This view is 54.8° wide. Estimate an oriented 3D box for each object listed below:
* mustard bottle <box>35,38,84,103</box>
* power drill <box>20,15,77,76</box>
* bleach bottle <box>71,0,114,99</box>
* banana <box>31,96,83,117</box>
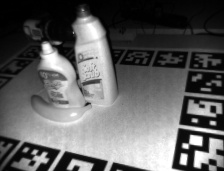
[{"bbox_3d":[-0.140,-0.035,0.546,0.095,0.193,0.058,7,43,21],"label":"mustard bottle"},{"bbox_3d":[-0.155,-0.100,0.596,0.182,0.188,0.057,17,46,28],"label":"power drill"},{"bbox_3d":[-0.058,-0.083,0.546,0.101,0.252,0.068,8,38,23],"label":"bleach bottle"},{"bbox_3d":[-0.154,0.047,0.588,0.195,0.039,0.074,8,44,26],"label":"banana"}]
